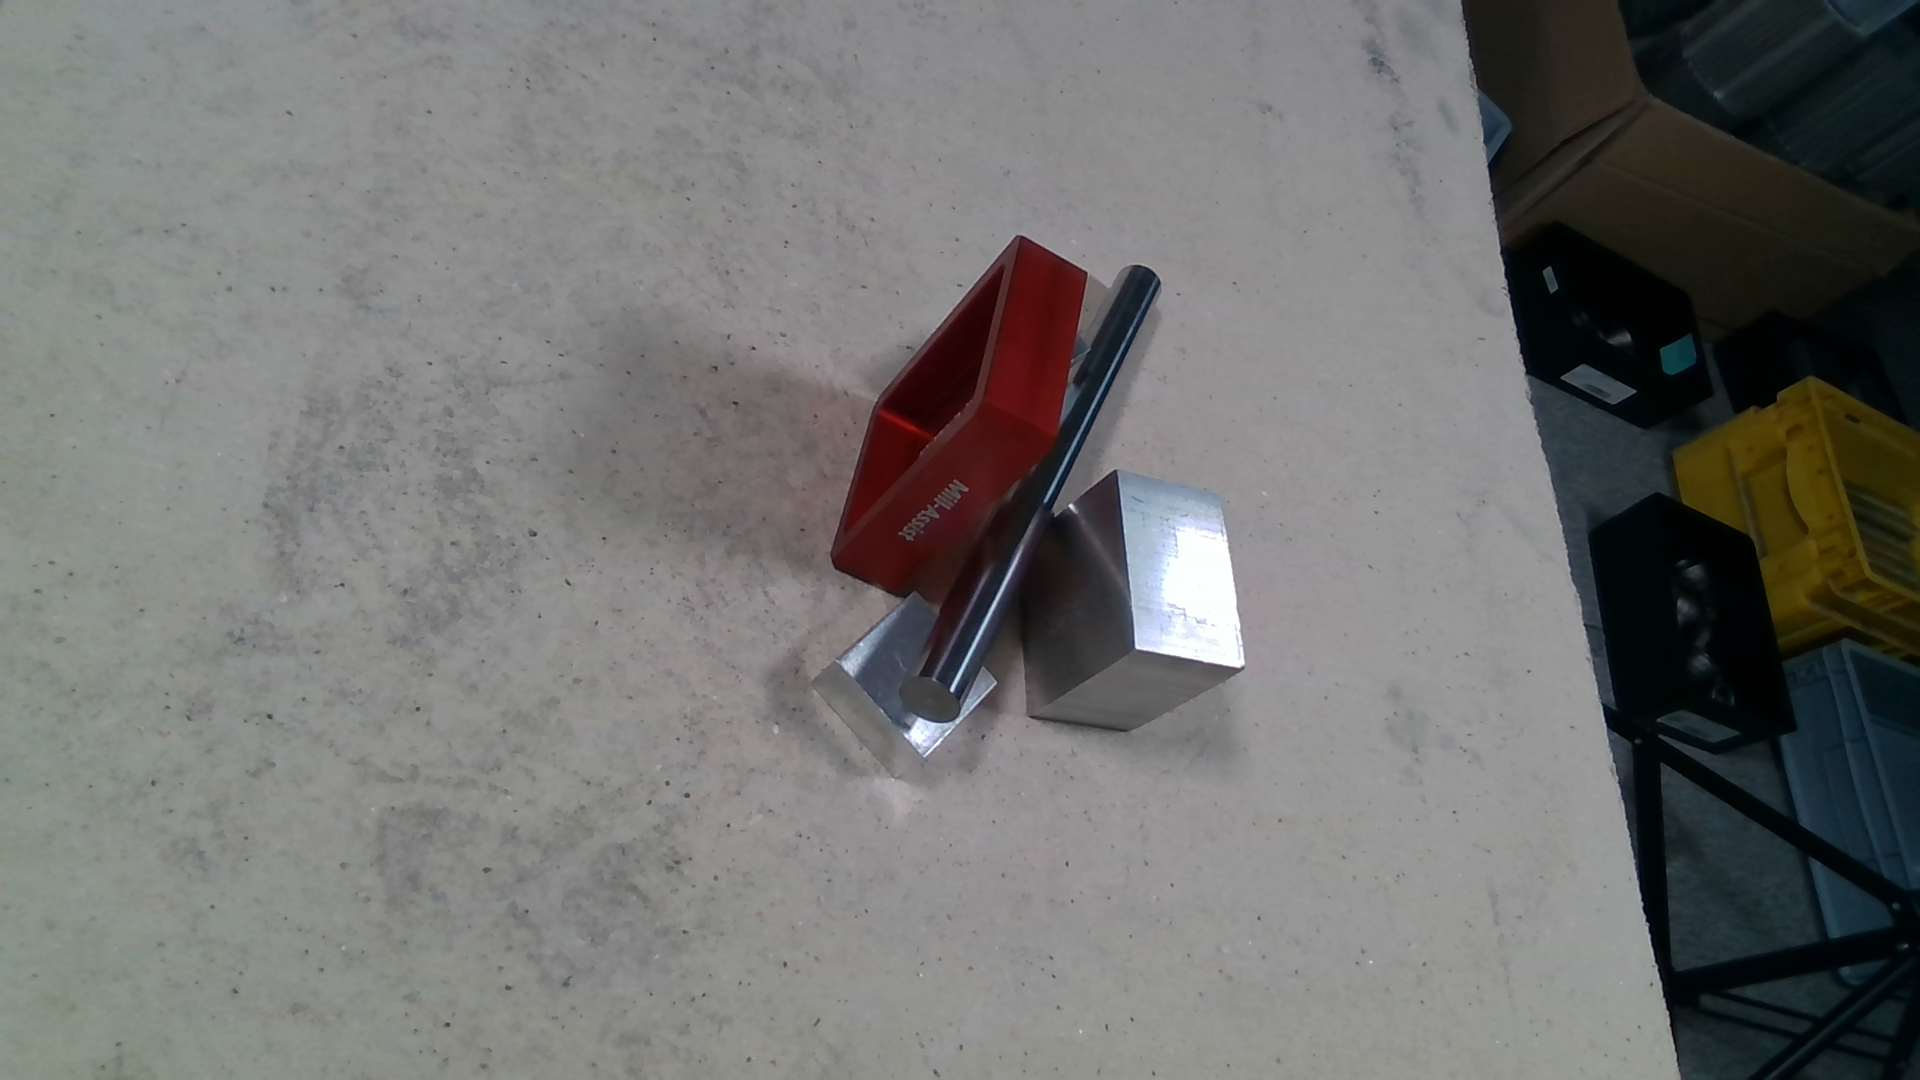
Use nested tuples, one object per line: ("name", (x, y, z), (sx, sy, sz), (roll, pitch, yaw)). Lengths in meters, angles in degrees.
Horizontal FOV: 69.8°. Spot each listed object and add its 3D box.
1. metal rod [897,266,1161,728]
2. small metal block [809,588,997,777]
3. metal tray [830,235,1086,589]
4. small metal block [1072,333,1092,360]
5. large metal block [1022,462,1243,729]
("metal rod", (0.040, -0.035, 0.612), (0.025, 0.025, 0.299), (37, 46, -9))
("small metal block", (-0.022, 0.056, 0.543), (0.050, 0.025, 0.050), (49, 51, 0))
("metal tray", (-0.003, -0.047, 0.542), (0.030, 0.130, 0.090), (25, 54, -18))
("small metal block", (0.024, -0.075, 0.624), (0.025, 0.050, 0.050), (51, 51, 2))
("large metal block", (0.068, 0.026, 0.578), (0.050, 0.080, 0.080), (12, 59, -26))
